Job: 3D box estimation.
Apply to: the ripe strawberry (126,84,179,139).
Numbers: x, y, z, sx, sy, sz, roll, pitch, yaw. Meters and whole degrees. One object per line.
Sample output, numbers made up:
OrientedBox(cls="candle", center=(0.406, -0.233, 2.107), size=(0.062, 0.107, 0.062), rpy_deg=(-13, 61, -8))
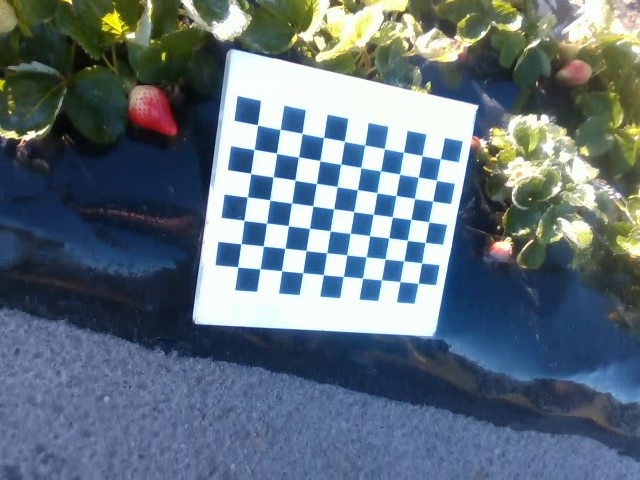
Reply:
OrientedBox(cls="ripe strawberry", center=(-0.171, -0.127, 0.613), size=(0.040, 0.065, 0.040), rpy_deg=(-44, 20, -13))
